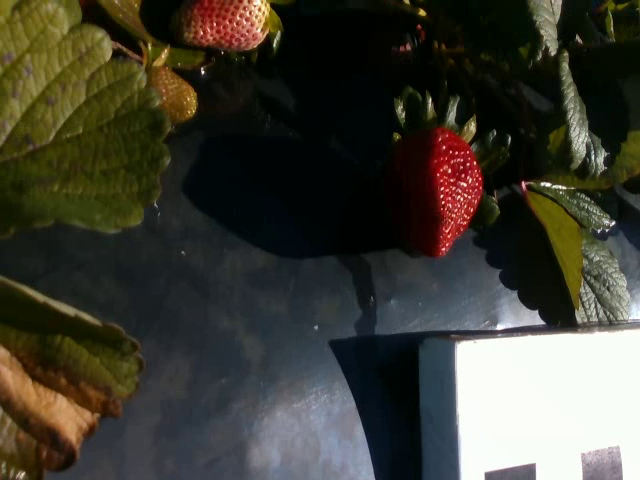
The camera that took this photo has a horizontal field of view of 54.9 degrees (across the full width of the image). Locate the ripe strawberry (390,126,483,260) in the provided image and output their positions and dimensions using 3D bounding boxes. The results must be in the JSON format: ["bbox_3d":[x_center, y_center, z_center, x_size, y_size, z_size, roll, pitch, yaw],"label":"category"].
[{"bbox_3d":[0.041,-0.014,0.220,0.058,0.066,0.062,-38,24,4],"label":"ripe strawberry"}]
